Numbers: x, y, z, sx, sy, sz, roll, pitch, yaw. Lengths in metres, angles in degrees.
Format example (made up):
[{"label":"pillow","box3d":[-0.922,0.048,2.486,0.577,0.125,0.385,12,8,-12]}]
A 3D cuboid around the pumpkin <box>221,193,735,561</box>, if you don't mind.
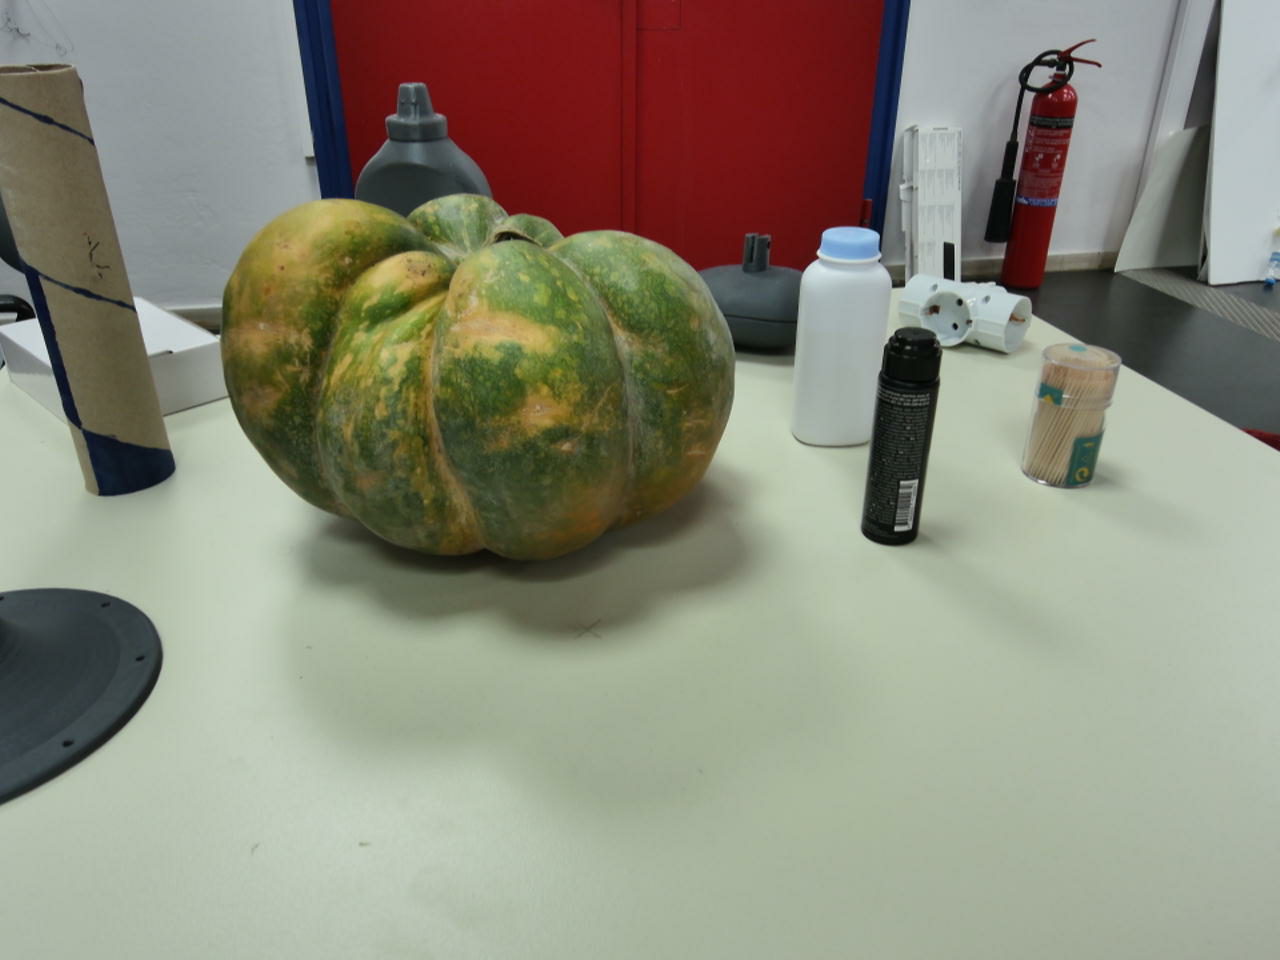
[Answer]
[{"label":"pumpkin","box3d":[-0.079,-0.063,0.524,0.270,0.173,0.237,11,28,22]}]
